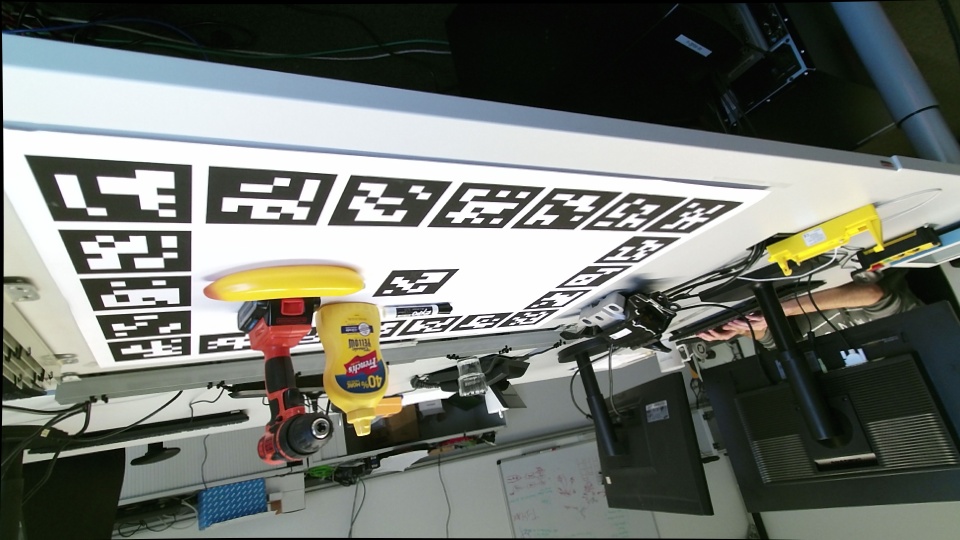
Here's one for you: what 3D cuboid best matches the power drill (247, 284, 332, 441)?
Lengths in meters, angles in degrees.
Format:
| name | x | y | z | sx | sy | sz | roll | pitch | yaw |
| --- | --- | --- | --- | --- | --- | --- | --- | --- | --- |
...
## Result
| name | x | y | z | sx | sy | sz | roll | pitch | yaw |
| --- | --- | --- | --- | --- | --- | --- | --- | --- | --- |
| power drill | -0.249 | 0.118 | 0.695 | 0.057 | 0.186 | 0.185 | 8 | 151 | -41 |

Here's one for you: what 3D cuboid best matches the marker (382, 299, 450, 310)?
| name | x | y | z | sx | sy | sz | roll | pitch | yaw |
| --- | --- | --- | --- | --- | --- | --- | --- | --- | --- |
| marker | -0.105 | 0.056 | 0.907 | 0.121 | 0.019 | 0.019 | 0 | 152 | -32 |

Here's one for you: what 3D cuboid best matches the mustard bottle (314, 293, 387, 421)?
| name | x | y | z | sx | sy | sz | roll | pitch | yaw |
| --- | --- | --- | --- | --- | --- | --- | --- | --- | --- |
| mustard bottle | -0.190 | 0.130 | 0.804 | 0.096 | 0.190 | 0.058 | 6 | 150 | -39 |

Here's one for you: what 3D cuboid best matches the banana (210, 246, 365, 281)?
| name | x | y | z | sx | sy | sz | roll | pitch | yaw |
| --- | --- | --- | --- | --- | --- | --- | --- | --- | --- |
| banana | -0.225 | -0.007 | 0.667 | 0.198 | 0.038 | 0.074 | 1 | 151 | -38 |
